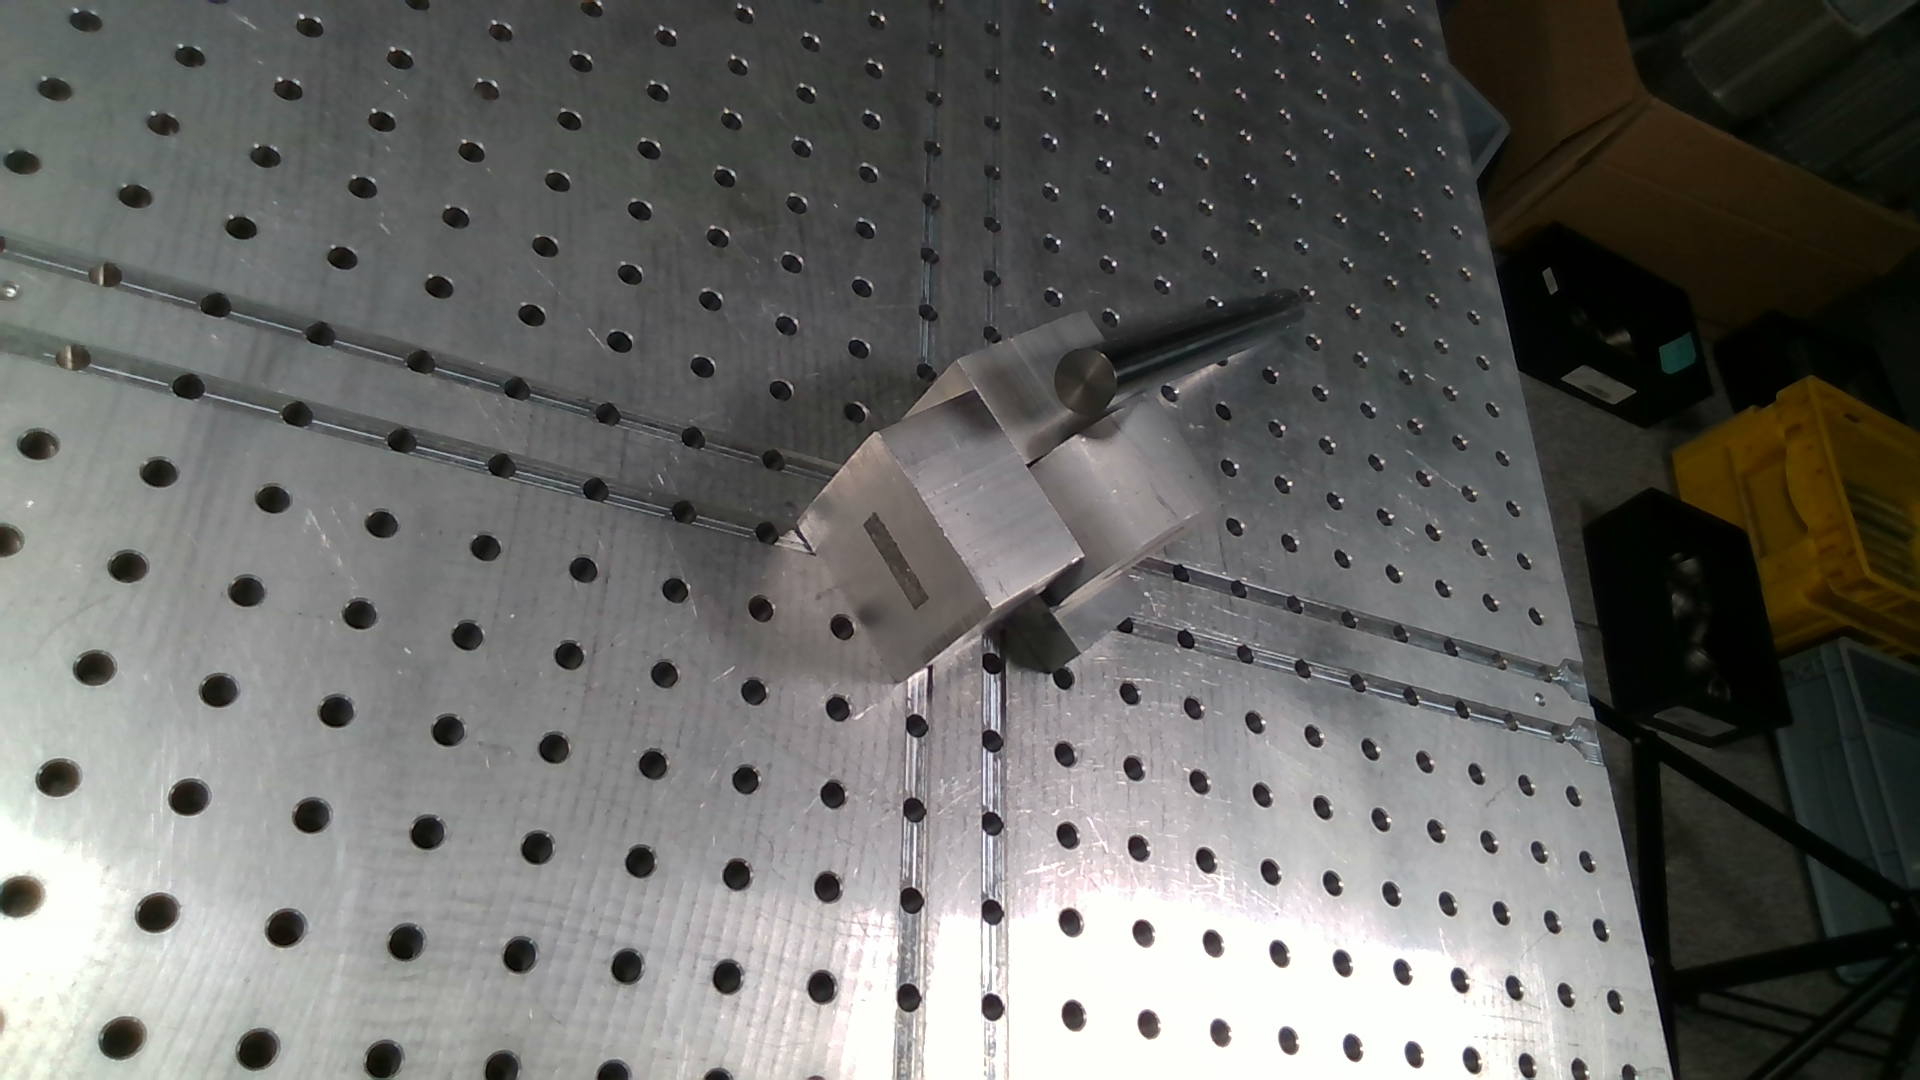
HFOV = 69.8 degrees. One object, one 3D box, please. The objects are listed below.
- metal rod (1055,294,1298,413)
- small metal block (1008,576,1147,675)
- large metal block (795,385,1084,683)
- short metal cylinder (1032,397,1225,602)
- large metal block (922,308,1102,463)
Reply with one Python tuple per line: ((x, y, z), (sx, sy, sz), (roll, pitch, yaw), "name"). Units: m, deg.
((0.113, -0.094, 0.642), (0.025, 0.025, 0.300), (54, 29, 5), "metal rod")
((0.046, 0.023, 0.606), (0.050, 0.025, 0.050), (-33, 85, -39), "small metal block")
((-0.011, -0.001, 0.545), (0.050, 0.080, 0.080), (-27, 81, -38), "large metal block")
((0.061, -0.016, 0.567), (0.080, 0.080, 0.050), (-26, 80, -38), "short metal cylinder")
((0.020, -0.047, 0.592), (0.080, 0.080, 0.050), (-27, 81, -38), "large metal block")
